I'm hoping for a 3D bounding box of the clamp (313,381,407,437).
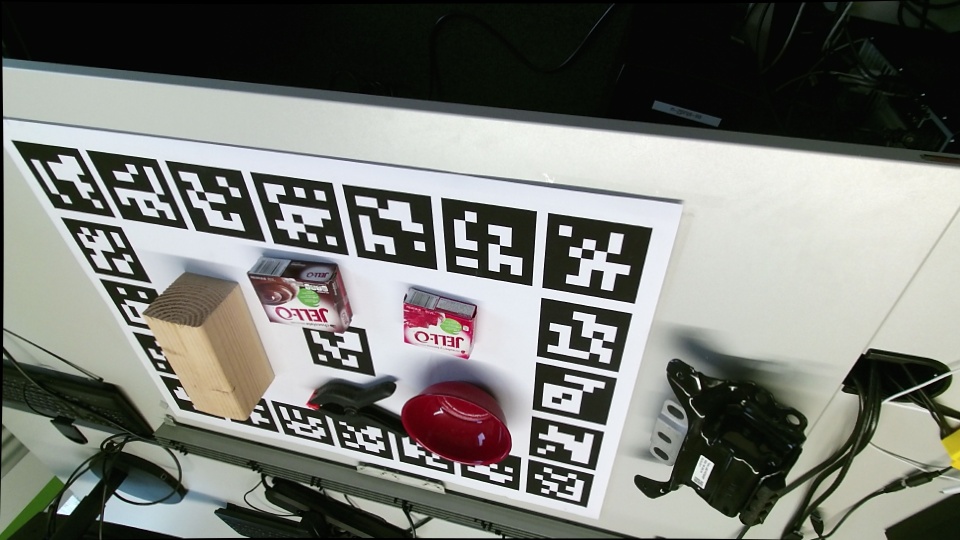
[{"bbox_3d":[-0.183,0.212,0.827,0.165,0.036,0.122,1,127,20],"label":"clamp"}]

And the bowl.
[{"bbox_3d":[-0.030,0.209,0.758,0.162,0.055,0.161,9,126,13],"label":"bowl"}]

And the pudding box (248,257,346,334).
[{"bbox_3d":[-0.236,0.032,0.692,0.114,0.038,0.090,7,125,11],"label":"pudding box"}]

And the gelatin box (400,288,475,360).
[{"bbox_3d":[-0.055,0.068,0.662,0.089,0.030,0.073,15,128,7],"label":"gelatin box"}]

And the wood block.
[{"bbox_3d":[-0.395,0.117,0.776,0.090,0.090,0.206,11,129,11],"label":"wood block"}]
